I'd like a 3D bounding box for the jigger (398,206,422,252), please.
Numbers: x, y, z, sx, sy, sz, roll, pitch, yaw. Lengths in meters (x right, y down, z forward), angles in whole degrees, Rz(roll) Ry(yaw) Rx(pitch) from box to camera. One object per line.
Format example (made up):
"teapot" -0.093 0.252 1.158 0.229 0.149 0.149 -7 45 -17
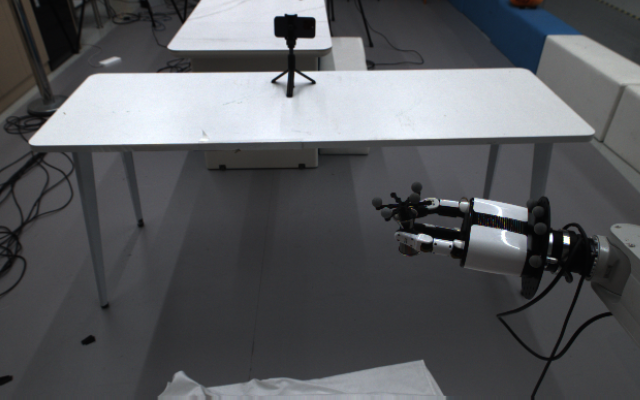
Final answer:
"jigger" 0.144 0.050 0.785 0.043 0.071 0.043 -12 29 7
